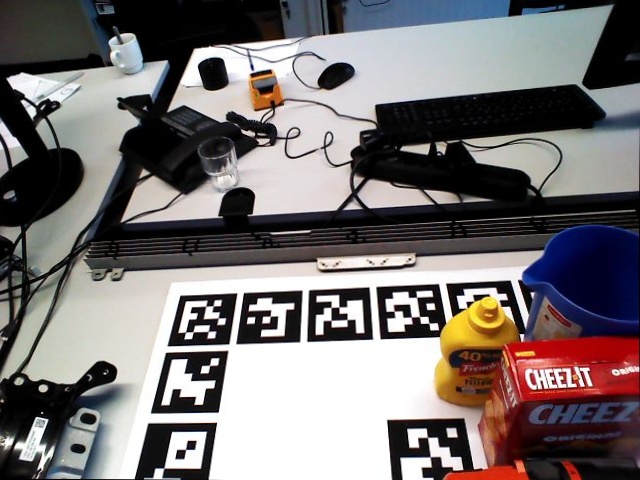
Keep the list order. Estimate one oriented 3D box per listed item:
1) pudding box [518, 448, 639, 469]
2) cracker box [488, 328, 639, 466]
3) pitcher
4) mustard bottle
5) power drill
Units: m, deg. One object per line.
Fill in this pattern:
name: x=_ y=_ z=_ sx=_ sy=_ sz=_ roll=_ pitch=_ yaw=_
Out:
pudding box: x=0.268 y=0.256 z=0.551 sx=0.114 sy=0.090 sz=0.038 roll=-4 pitch=45 yaw=11
cracker box: x=0.271 y=0.184 z=0.544 sx=0.165 sy=0.214 sz=0.071 roll=-6 pitch=45 yaw=9
pitcher: x=0.324 y=0.103 z=0.601 sx=0.190 sy=0.243 sz=0.132 roll=1 pitch=48 yaw=14
mustard bottle: x=0.193 y=0.117 z=0.629 sx=0.097 sy=0.192 sz=0.058 roll=8 pitch=50 yaw=17
power drill: x=0.194 y=0.257 z=0.469 sx=0.185 sy=0.187 sz=0.057 roll=-3 pitch=44 yaw=7
